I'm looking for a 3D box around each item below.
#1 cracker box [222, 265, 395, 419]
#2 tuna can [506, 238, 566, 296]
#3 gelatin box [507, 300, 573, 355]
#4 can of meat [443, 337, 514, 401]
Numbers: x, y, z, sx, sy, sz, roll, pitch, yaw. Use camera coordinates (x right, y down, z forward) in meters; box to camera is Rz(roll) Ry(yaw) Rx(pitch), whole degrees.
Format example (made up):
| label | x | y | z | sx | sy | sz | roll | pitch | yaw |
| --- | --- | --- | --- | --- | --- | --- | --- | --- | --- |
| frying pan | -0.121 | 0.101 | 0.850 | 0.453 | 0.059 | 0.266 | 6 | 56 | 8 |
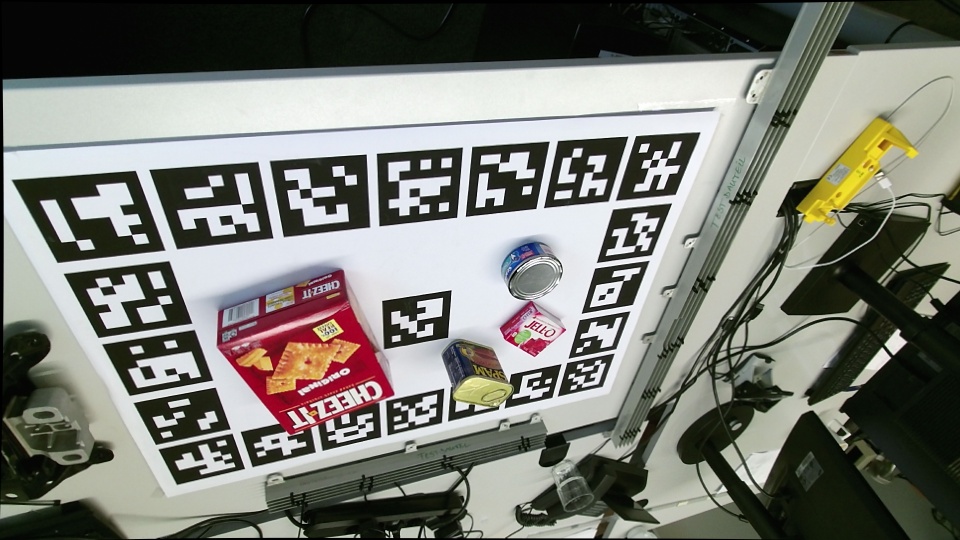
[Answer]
| label | x | y | z | sx | sy | sz | roll | pitch | yaw |
| --- | --- | --- | --- | --- | --- | --- | --- | --- | --- |
| cracker box | -0.227 | 0.110 | 0.747 | 0.165 | 0.071 | 0.214 | -20 | 135 | -5 |
| tuna can | 0.082 | -0.004 | 0.797 | 0.086 | 0.033 | 0.086 | -12 | 129 | -15 |
| gelatin box | 0.100 | 0.099 | 0.900 | 0.073 | 0.030 | 0.090 | -42 | 130 | 18 |
| can of meat | -0.005 | 0.161 | 0.883 | 0.102 | 0.083 | 0.058 | 19 | 120 | -36 |
